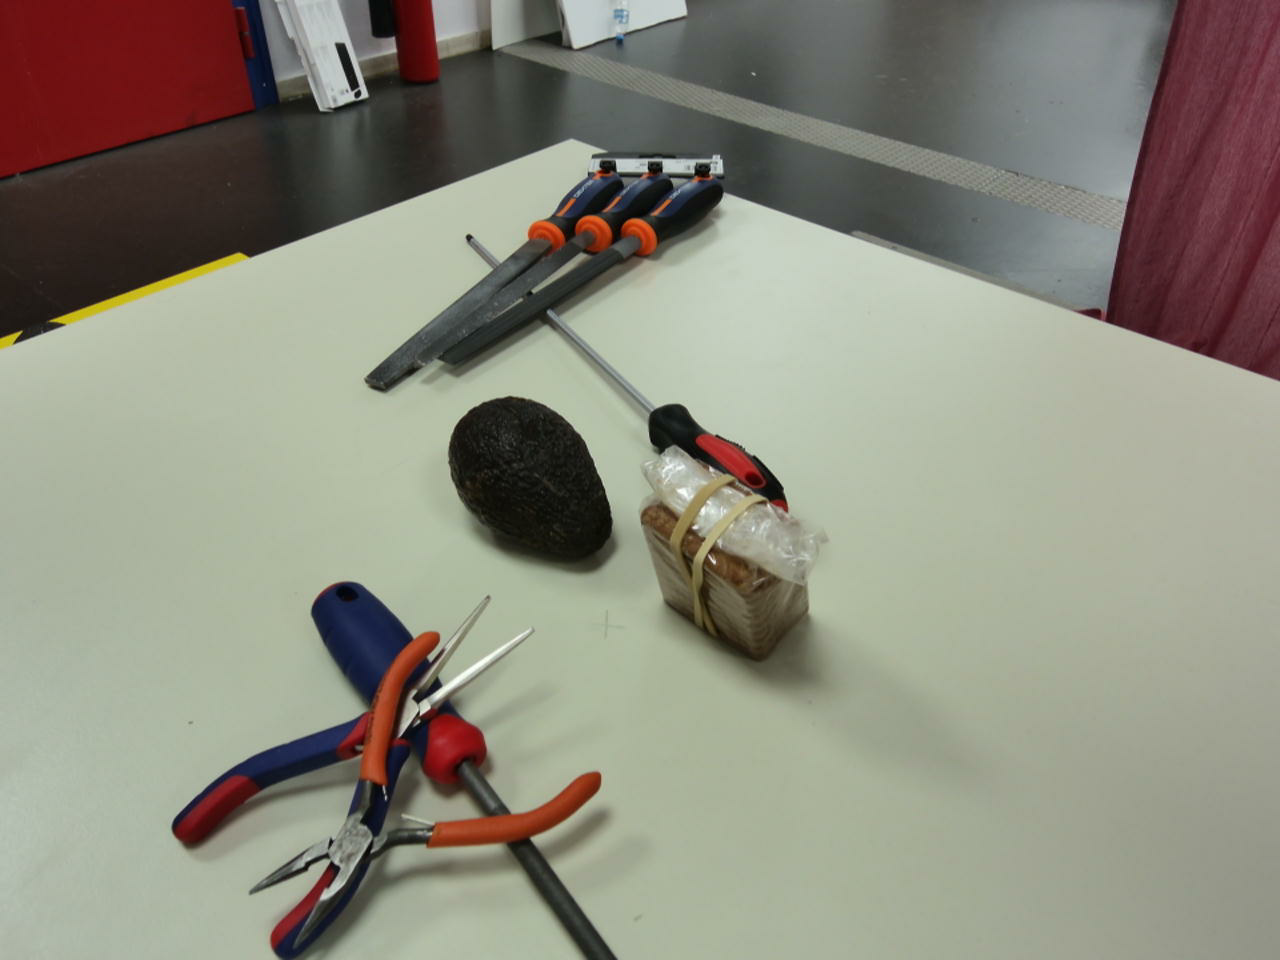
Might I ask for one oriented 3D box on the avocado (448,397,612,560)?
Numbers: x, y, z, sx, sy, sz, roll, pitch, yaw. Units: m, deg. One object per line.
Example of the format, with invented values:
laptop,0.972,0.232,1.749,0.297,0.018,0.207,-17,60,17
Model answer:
avocado,-0.057,-0.002,0.502,0.070,0.069,0.090,-14,40,-20
